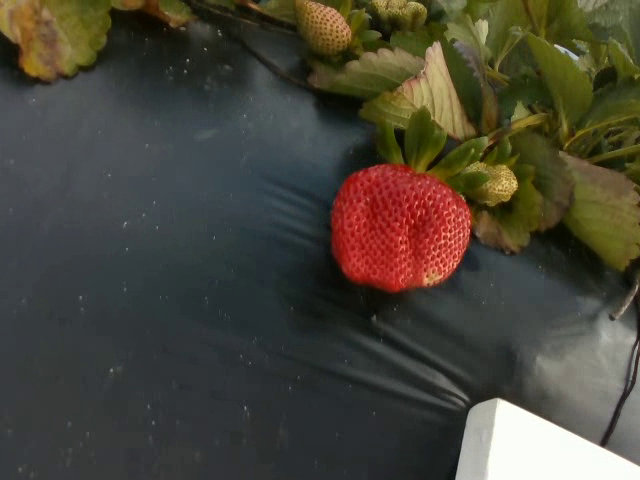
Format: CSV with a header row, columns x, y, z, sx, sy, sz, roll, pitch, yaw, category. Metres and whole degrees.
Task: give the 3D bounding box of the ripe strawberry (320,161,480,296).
x,y,z,sx,sy,sz,roll,pitch,yaw,category
0.034,-0.006,0.252,0.067,0.074,0.039,28,-34,-2,ripe strawberry
